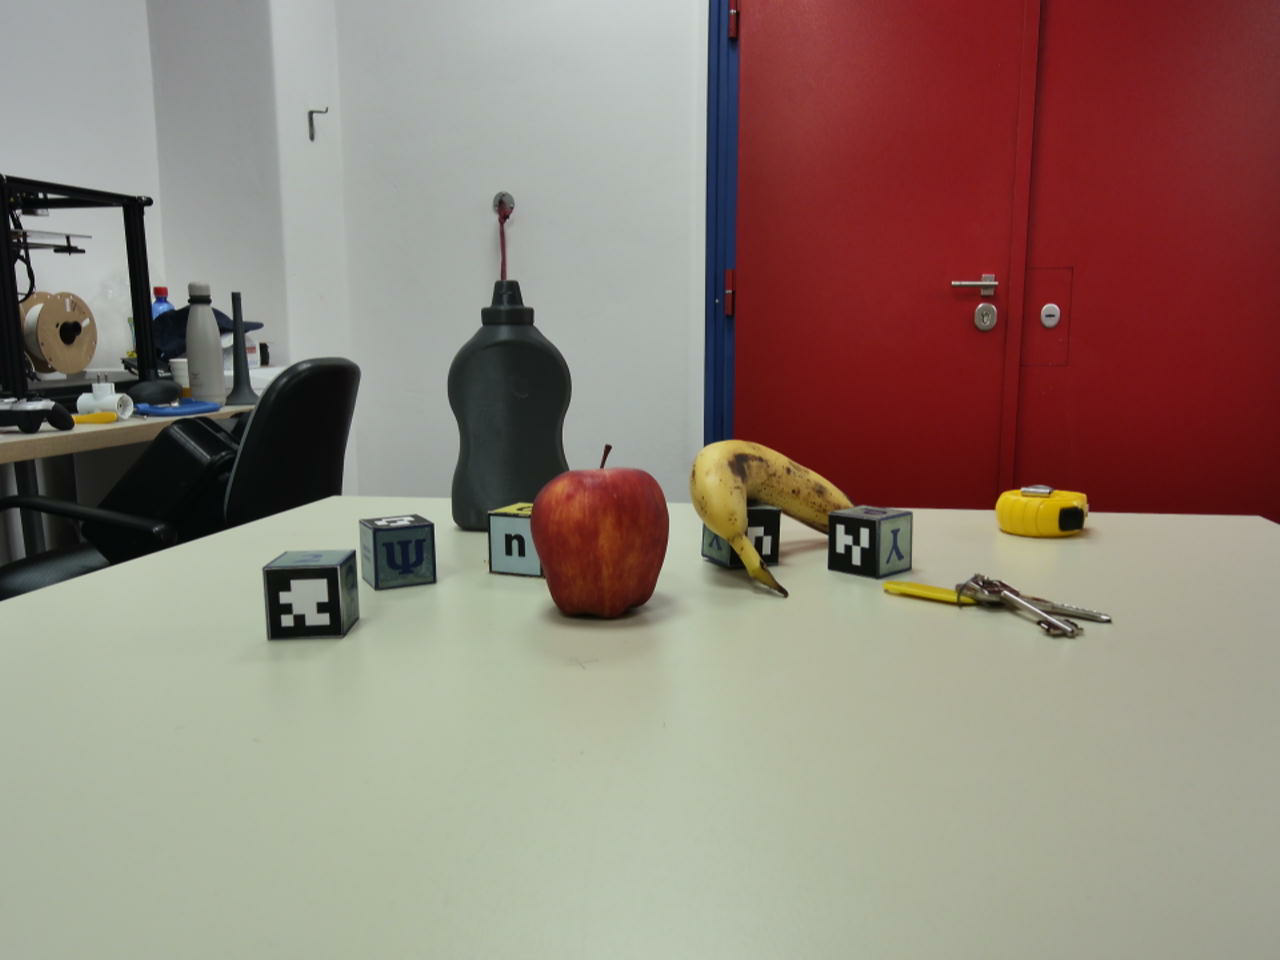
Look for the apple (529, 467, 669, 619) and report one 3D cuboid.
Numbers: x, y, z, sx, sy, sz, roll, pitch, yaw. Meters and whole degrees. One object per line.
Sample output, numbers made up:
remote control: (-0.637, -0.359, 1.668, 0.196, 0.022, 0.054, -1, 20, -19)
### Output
apple: (-0.022, 0.027, 0.542, 0.083, 0.090, 0.083, -1, 6, 0)
